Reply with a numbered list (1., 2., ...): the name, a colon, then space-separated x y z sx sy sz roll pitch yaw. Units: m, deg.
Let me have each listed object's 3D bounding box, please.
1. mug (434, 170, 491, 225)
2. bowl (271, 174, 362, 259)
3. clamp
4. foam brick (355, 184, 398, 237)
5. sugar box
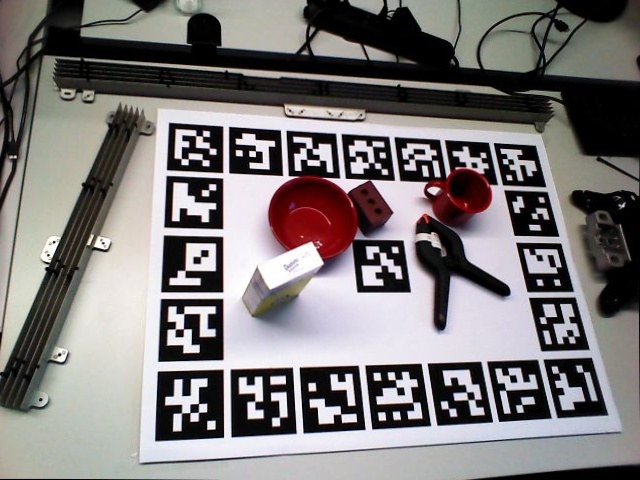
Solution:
1. mug: 0.269 -0.084 0.976 0.117 0.082 0.092 26 66 -6
2. bowl: -0.010 -0.035 0.909 0.161 0.055 0.161 5 68 -12
3. clamp: 0.241 0.041 0.942 0.165 0.037 0.202 -23 77 -18
4. foam brick: 0.100 -0.055 0.951 0.052 0.051 0.078 -26 78 -20
5. sugar box: -0.060 0.066 0.792 0.092 0.177 0.045 -24 78 -22
